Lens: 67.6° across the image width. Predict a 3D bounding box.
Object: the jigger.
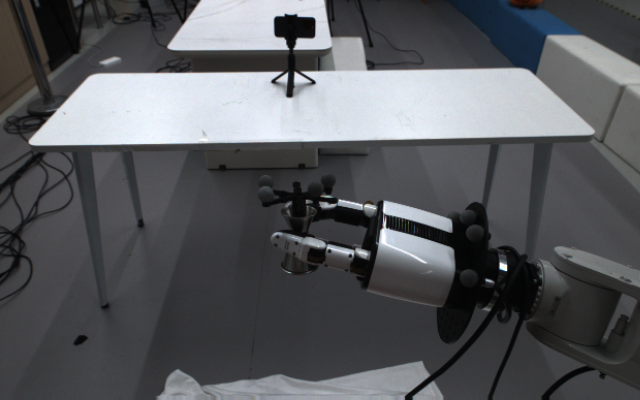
[{"bbox_3d":[-0.023,0.043,0.544,0.043,0.071,0.043,0,21,0],"label":"jigger"}]
